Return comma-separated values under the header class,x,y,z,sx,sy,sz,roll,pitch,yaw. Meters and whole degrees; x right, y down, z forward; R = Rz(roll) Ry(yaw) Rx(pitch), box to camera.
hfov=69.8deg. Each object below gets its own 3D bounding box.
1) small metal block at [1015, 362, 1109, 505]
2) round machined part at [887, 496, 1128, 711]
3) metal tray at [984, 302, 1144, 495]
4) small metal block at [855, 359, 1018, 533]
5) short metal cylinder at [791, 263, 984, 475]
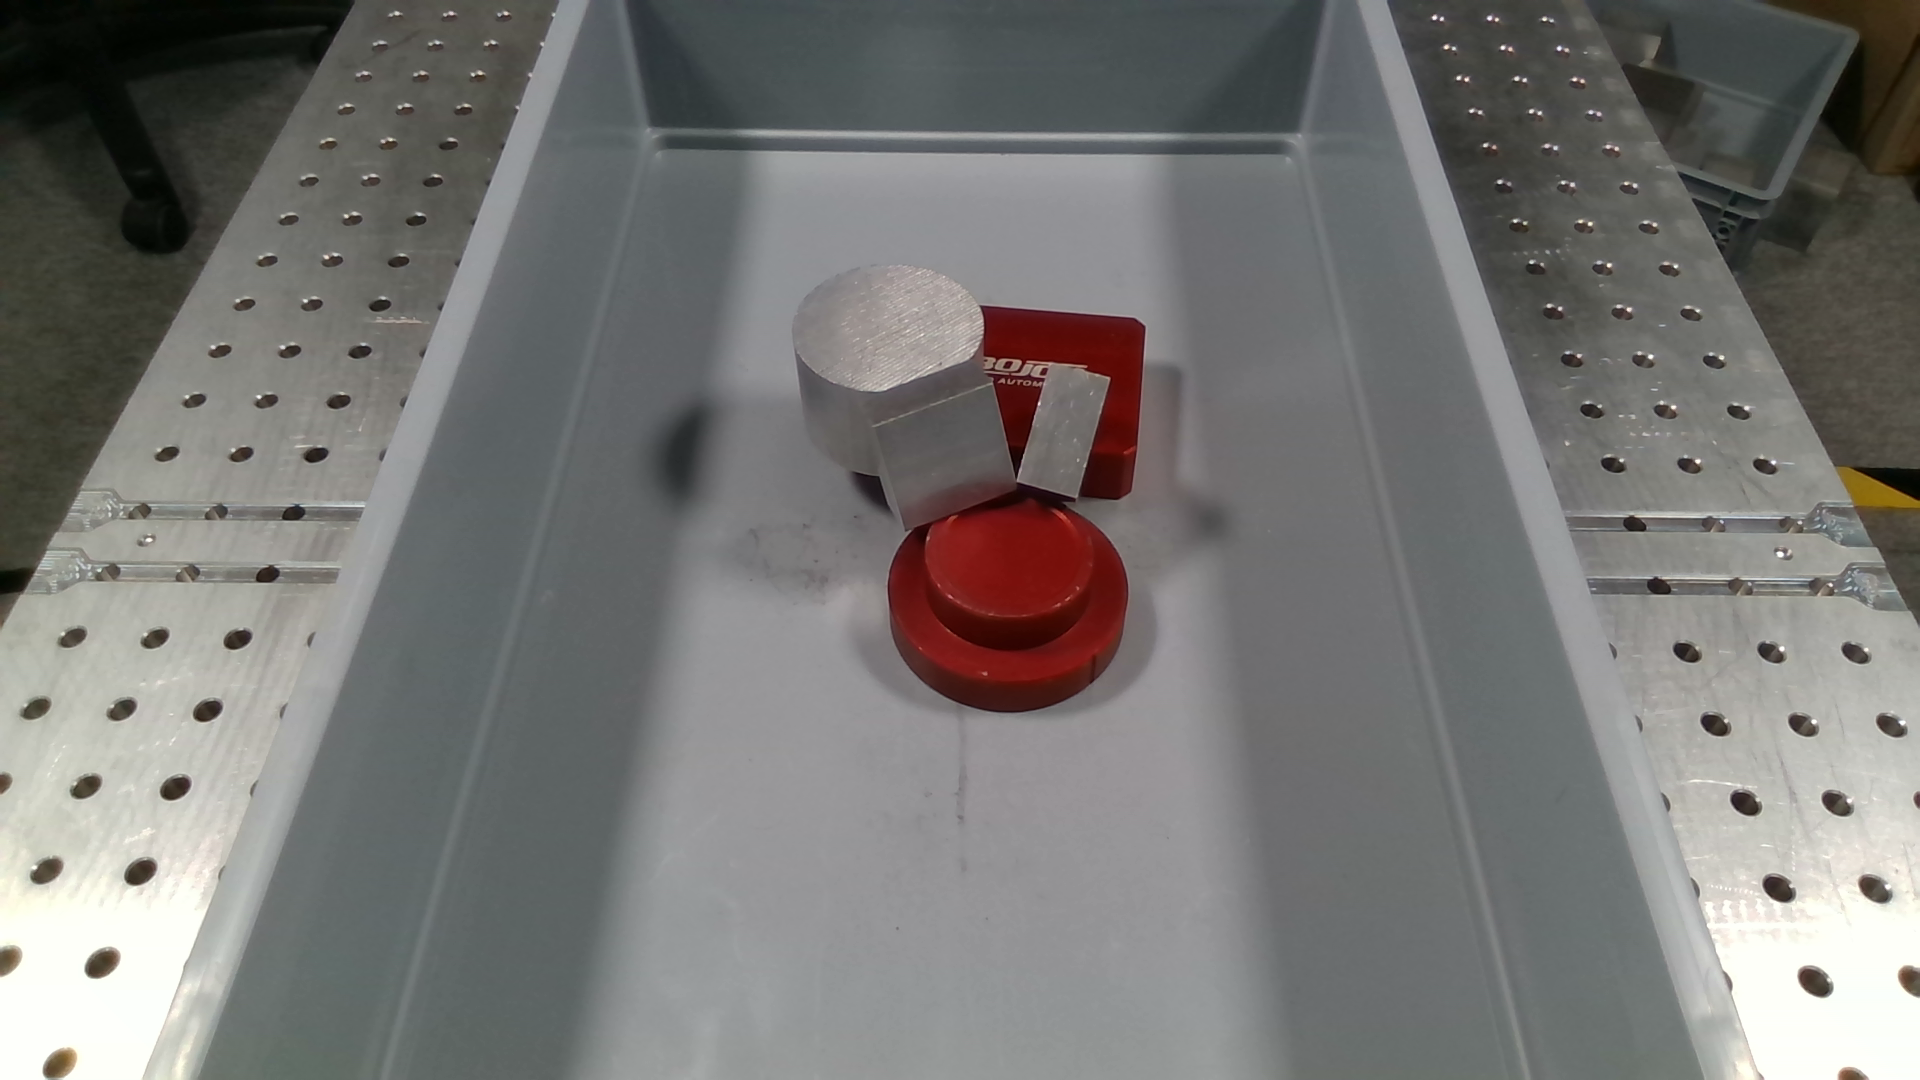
class,x,y,z,sx,sy,sz,roll,pitch,yaw
small metal block,0.043,-0.042,0.571,0.025,0.050,0.050,15,88,6
round machined part,0.019,0.017,0.560,0.098,0.042,0.098,0,50,0
metal tray,0.017,-0.069,0.637,0.130,0.030,0.090,6,50,5
small metal block,-0.009,-0.037,0.550,0.050,0.050,0.025,-21,34,-9
short metal cylinder,-0.030,-0.074,0.591,0.080,0.050,0.080,0,50,0
